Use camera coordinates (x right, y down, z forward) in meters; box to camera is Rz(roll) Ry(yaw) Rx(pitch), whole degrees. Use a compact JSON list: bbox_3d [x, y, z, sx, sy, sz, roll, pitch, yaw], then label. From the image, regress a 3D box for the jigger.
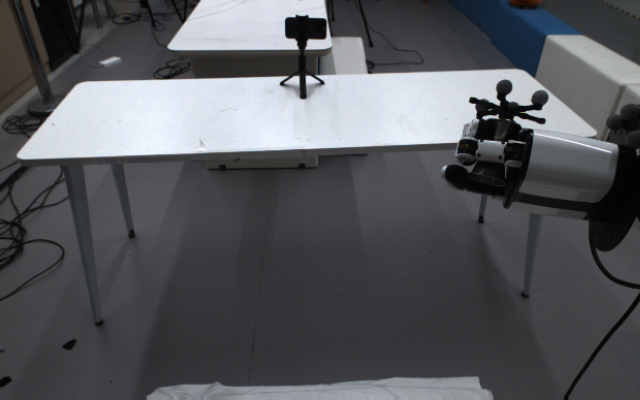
[{"bbox_3d":[0.201,-0.055,0.552,0.043,0.071,0.043,19,-6,2],"label":"jigger"}]
